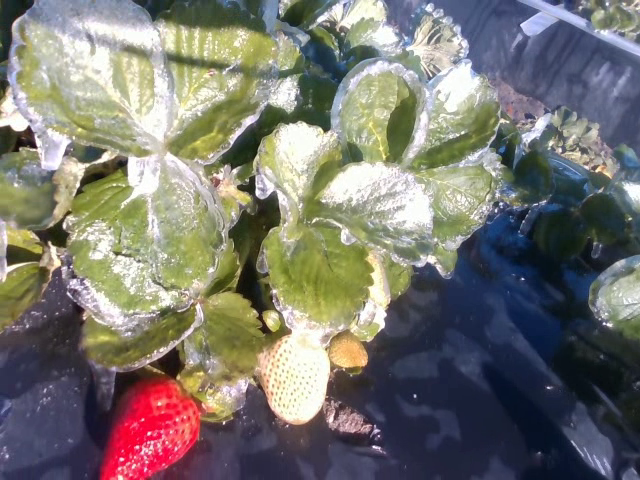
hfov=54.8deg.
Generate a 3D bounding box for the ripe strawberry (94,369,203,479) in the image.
[{"bbox_3d":[-0.075,0.081,0.249,0.041,0.052,0.040,27,-32,13],"label":"ripe strawberry"}]
